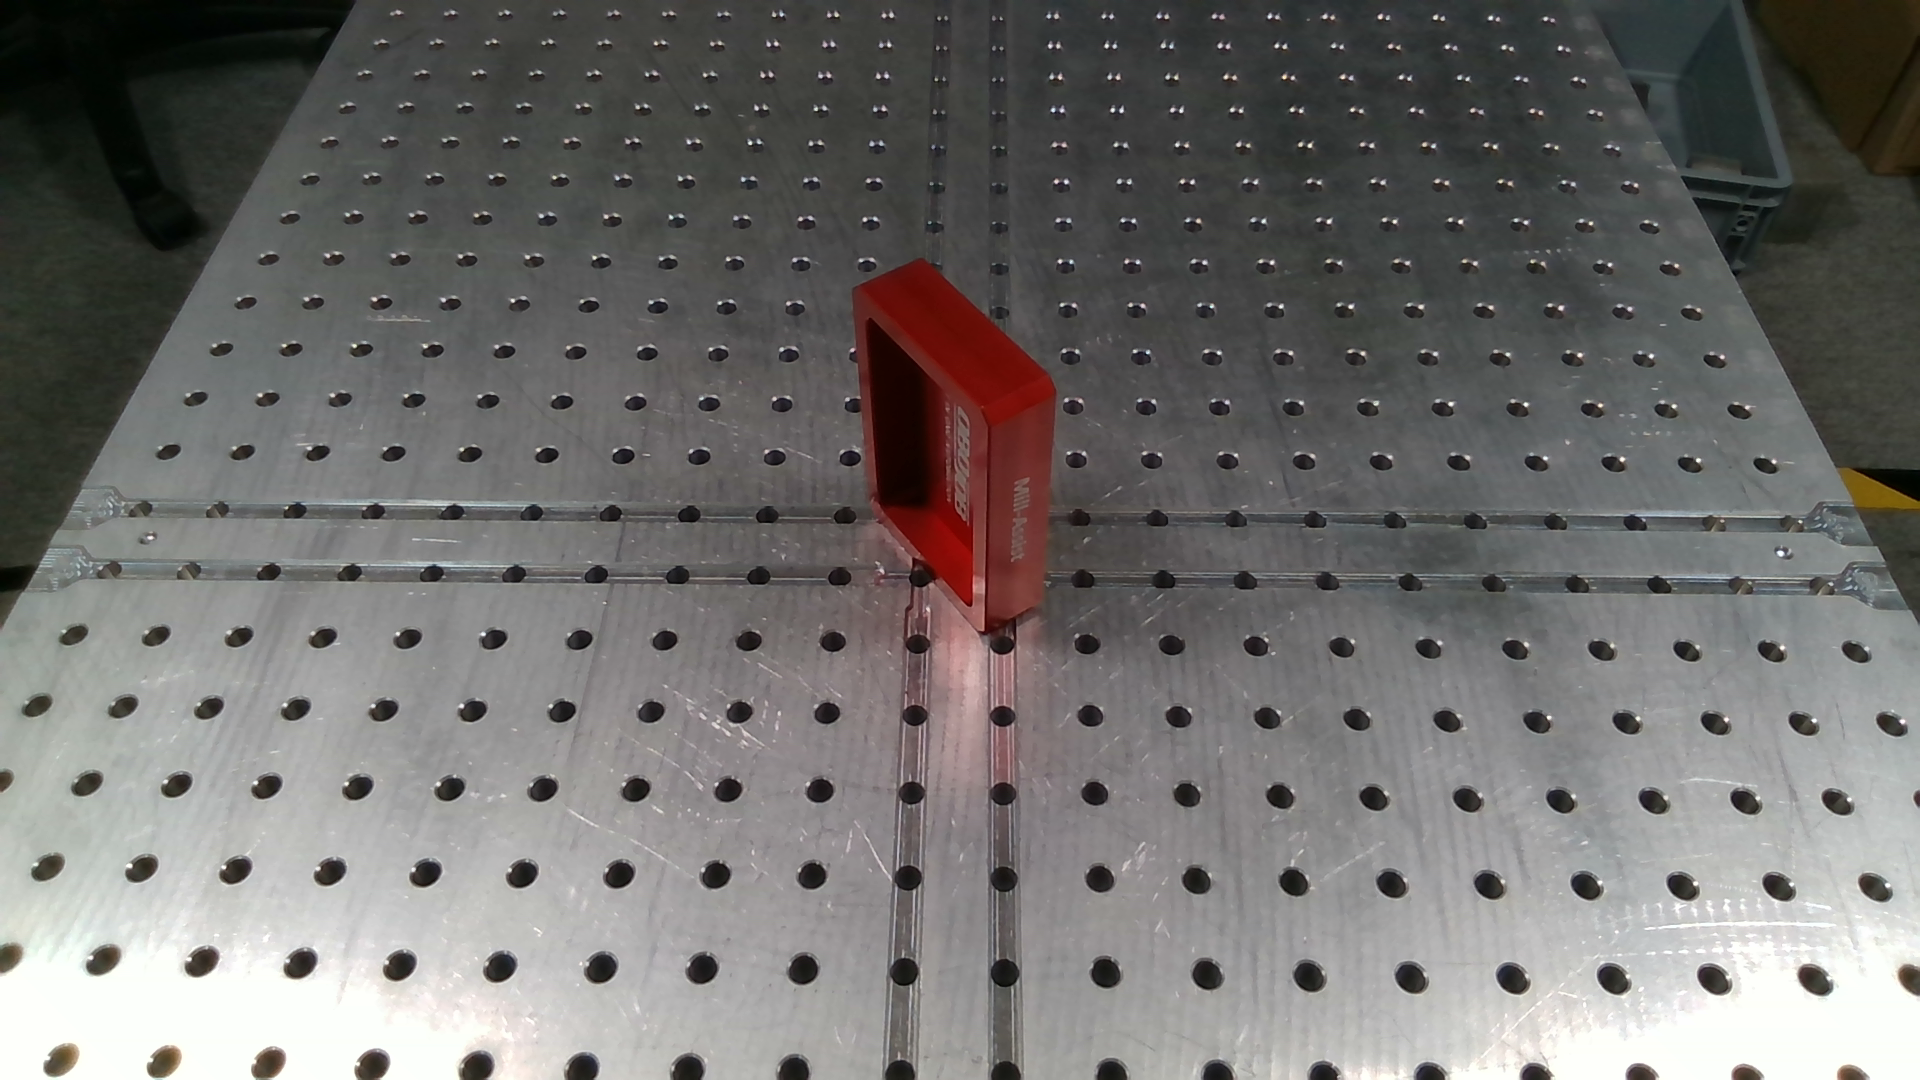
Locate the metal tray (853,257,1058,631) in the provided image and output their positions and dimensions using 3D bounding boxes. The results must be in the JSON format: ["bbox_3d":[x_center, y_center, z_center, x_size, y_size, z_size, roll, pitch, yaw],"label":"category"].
[{"bbox_3d":[-0.003,-0.035,0.551,0.030,0.130,0.090,-28,56,-22],"label":"metal tray"}]
